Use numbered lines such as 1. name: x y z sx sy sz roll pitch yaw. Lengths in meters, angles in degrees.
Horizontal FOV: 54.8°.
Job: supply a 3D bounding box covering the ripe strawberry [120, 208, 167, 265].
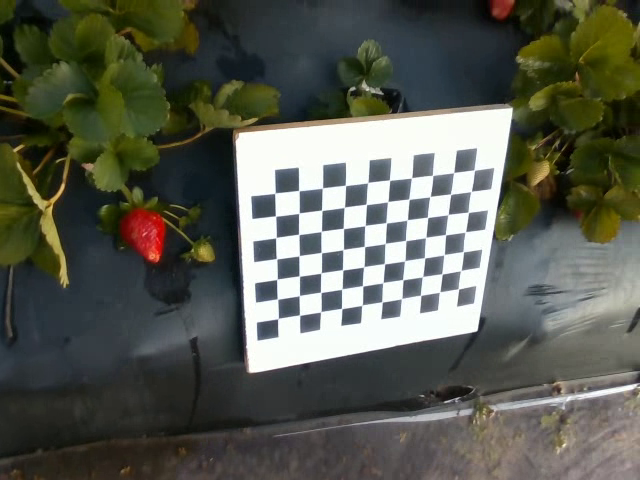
1. ripe strawberry: -0.164 -0.001 0.589 0.043 0.057 0.052 -28 -30 1
